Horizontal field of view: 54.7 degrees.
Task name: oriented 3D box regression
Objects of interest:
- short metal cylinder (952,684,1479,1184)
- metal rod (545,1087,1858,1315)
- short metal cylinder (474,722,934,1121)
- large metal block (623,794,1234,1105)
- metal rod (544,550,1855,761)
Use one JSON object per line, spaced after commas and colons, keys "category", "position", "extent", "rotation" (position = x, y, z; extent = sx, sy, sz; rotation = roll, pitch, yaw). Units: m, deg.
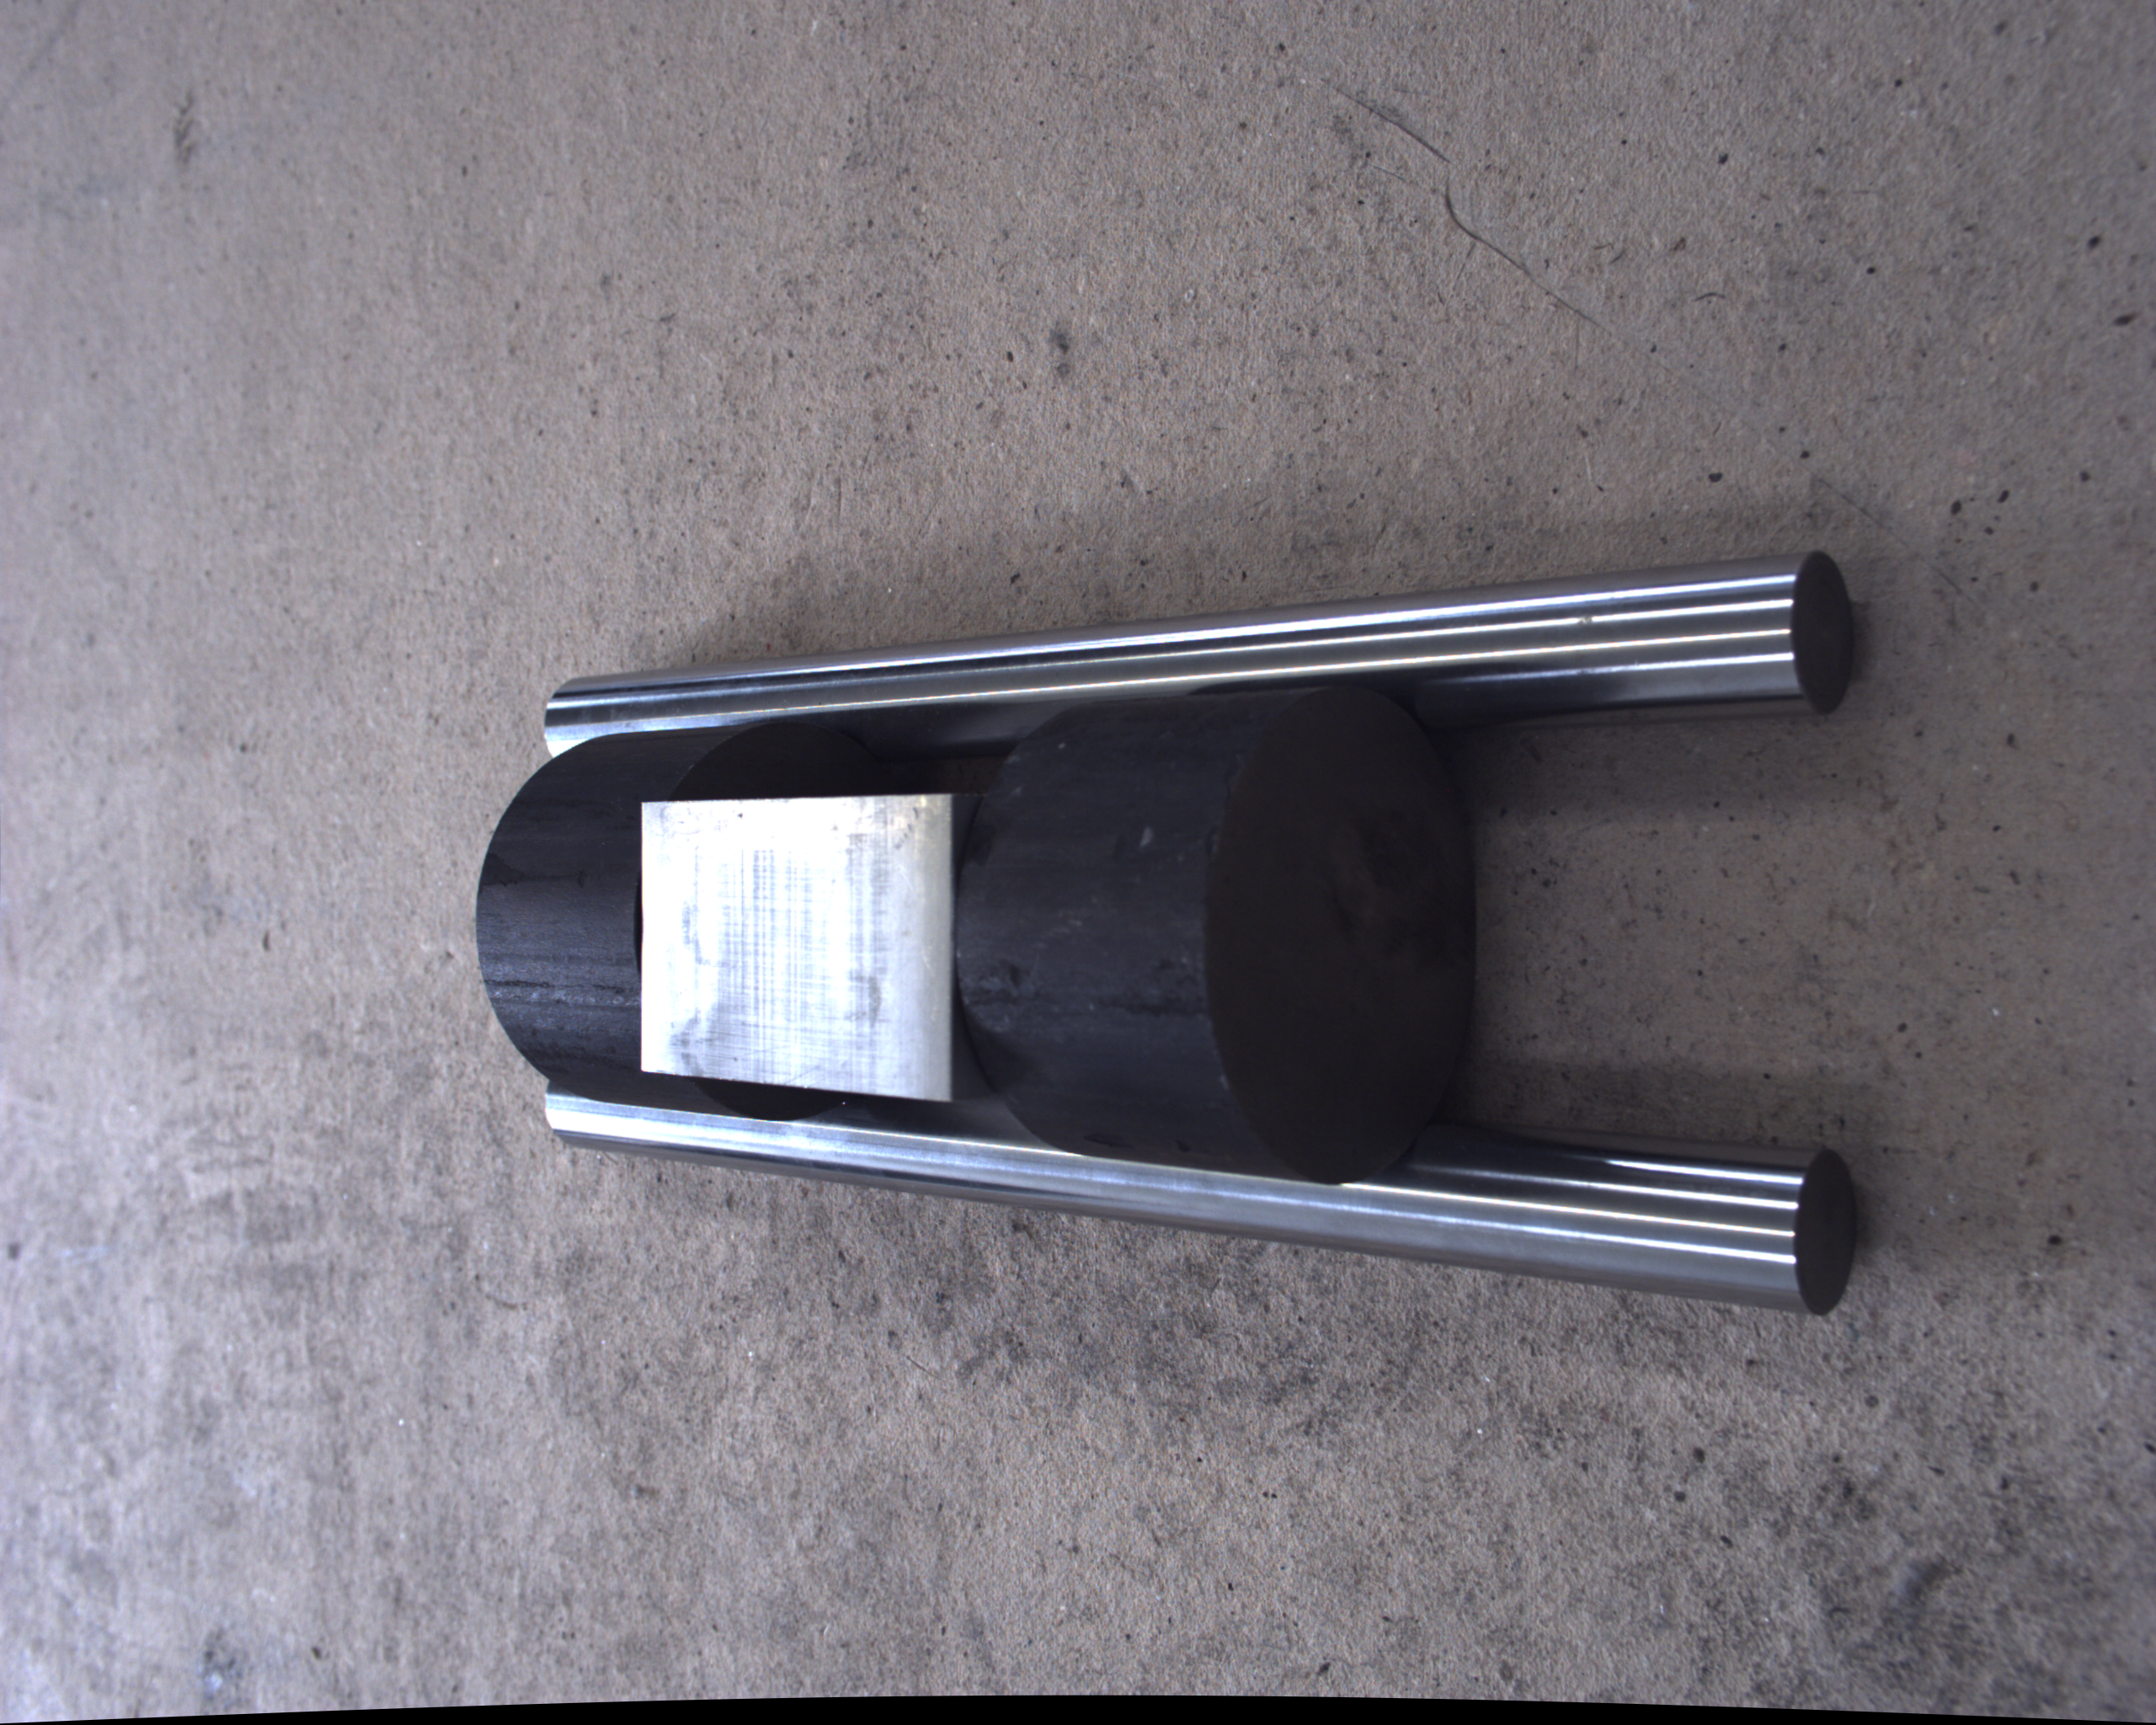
{"category": "short metal cylinder", "position": [0.025, 0.012, 0.349], "extent": [0.050, 0.081, 0.080], "rotation": [-1, 90, 40]}
{"category": "metal rod", "position": [-0.003, 0.056, 0.409], "extent": [0.300, 0.025, 0.025], "rotation": [0, 90, 40]}
{"category": "short metal cylinder", "position": [-0.076, 0.012, 0.433], "extent": [0.050, 0.081, 0.080], "rotation": [-1, 90, 40]}
{"category": "large metal block", "position": [-0.027, 0.014, 0.390], "extent": [0.080, 0.081, 0.050], "rotation": [0, 90, 40]}
{"category": "metal rod", "position": [-0.003, -0.034, 0.409], "extent": [0.300, 0.025, 0.025], "rotation": [0, 90, 40]}
